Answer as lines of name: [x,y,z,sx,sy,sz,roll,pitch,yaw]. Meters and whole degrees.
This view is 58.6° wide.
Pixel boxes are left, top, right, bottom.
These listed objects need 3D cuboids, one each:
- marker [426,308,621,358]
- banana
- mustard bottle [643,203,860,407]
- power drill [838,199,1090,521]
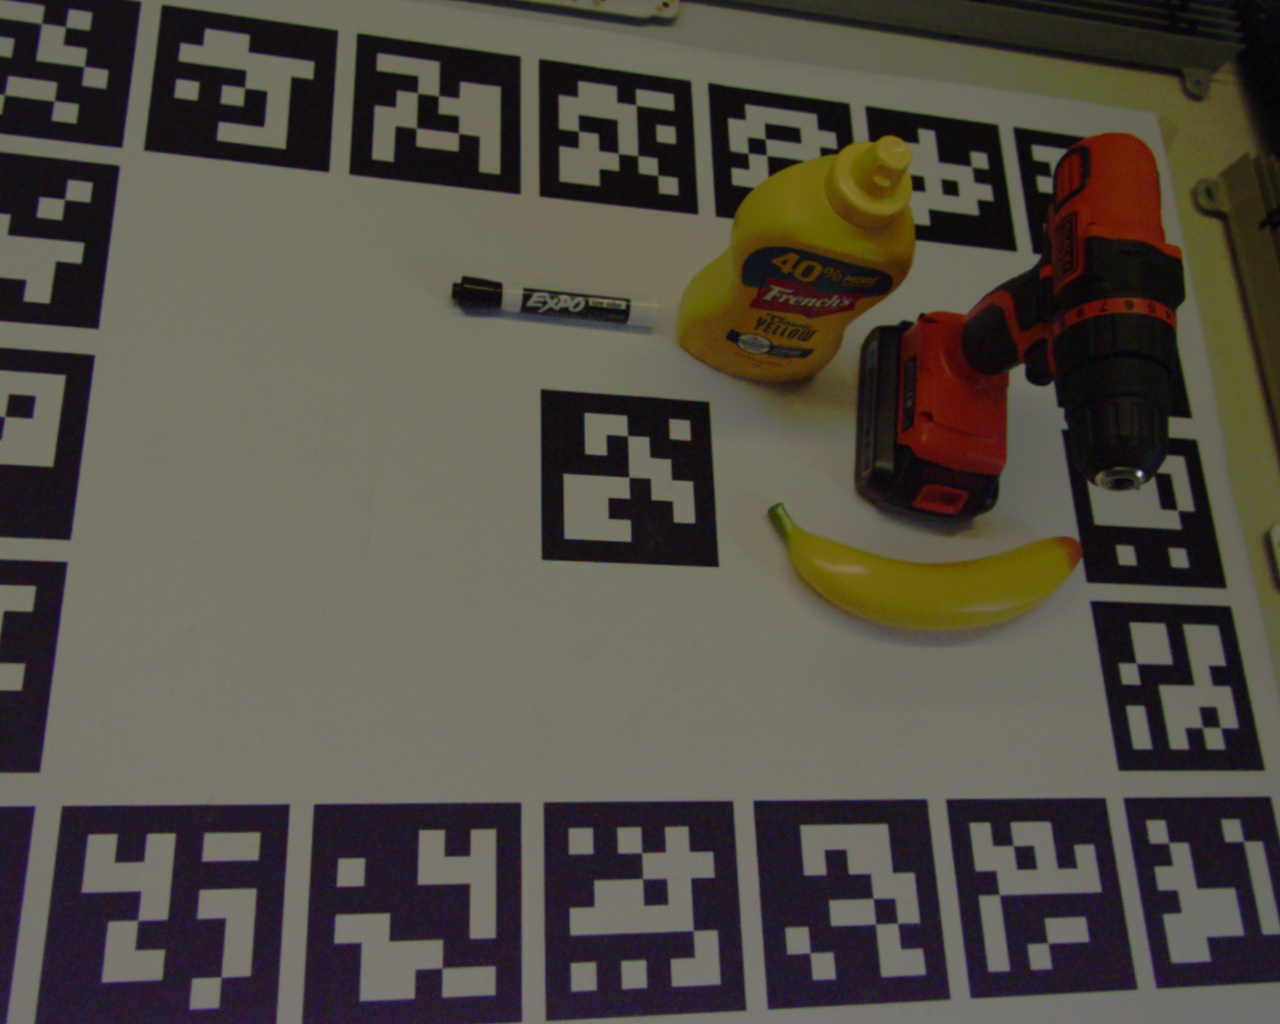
marker: [-0.073,-0.112,0.713,0.120,0.020,0.020,4,74,-13]
banana: [0.148,0.050,0.711,0.196,0.039,0.074,10,73,-9]
mustard bottle: [0.072,-0.122,0.659,0.095,0.192,0.058,14,71,-12]
power drill: [0.180,-0.060,0.650,0.057,0.188,0.184,16,68,-12]
